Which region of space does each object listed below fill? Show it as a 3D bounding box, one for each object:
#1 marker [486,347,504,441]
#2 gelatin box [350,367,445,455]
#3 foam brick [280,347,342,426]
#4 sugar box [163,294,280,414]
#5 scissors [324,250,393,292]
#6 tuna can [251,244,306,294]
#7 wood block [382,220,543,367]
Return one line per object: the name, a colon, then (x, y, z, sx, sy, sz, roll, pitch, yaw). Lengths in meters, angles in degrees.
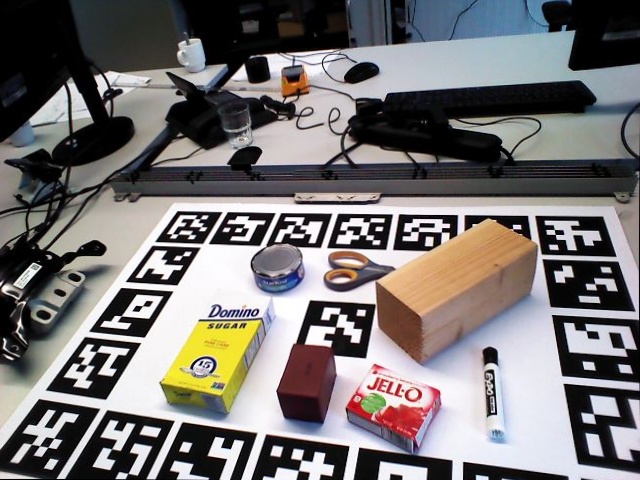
marker: (0.207, 0.176, 0.608, 0.020, 0.020, 0.120, 2, 42, 18)
gelatin box: (0.092, 0.198, 0.609, 0.090, 0.030, 0.073, 14, 46, 31)
foam brick: (-0.008, 0.179, 0.637, 0.053, 0.051, 0.077, 2, 41, 19)
sugar box: (-0.131, 0.152, 0.721, 0.093, 0.045, 0.175, 4, 41, 20)
scissors: (0.104, 0.053, 0.801, 0.204, 0.016, 0.087, 4, 41, 24)
tuna can: (-0.067, 0.047, 0.838, 0.086, 0.034, 0.085, -8, 38, 6)
wood block: (0.196, 0.067, 0.700, 0.205, 0.091, 0.090, -28, 39, -20)
